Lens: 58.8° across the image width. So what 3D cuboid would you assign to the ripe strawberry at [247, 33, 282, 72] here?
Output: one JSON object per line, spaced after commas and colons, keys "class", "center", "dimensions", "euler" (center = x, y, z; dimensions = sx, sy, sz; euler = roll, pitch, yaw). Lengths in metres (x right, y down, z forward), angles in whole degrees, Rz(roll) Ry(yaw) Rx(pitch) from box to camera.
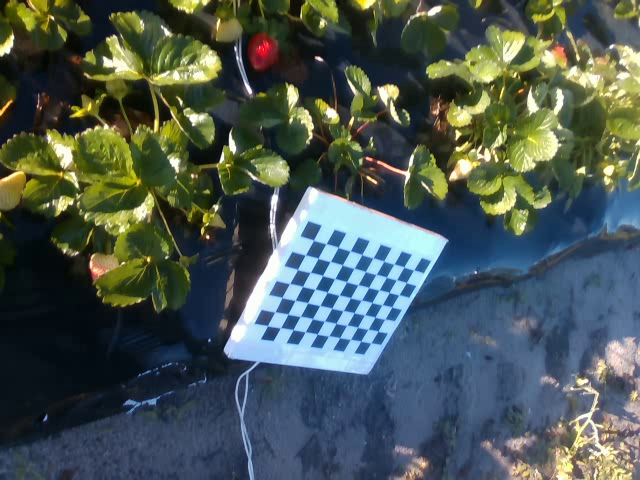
{"class": "ripe strawberry", "center": [-0.080, -0.288, 0.863], "dimensions": [0.040, 0.080, 0.063], "euler": [-6, -40, 29]}
